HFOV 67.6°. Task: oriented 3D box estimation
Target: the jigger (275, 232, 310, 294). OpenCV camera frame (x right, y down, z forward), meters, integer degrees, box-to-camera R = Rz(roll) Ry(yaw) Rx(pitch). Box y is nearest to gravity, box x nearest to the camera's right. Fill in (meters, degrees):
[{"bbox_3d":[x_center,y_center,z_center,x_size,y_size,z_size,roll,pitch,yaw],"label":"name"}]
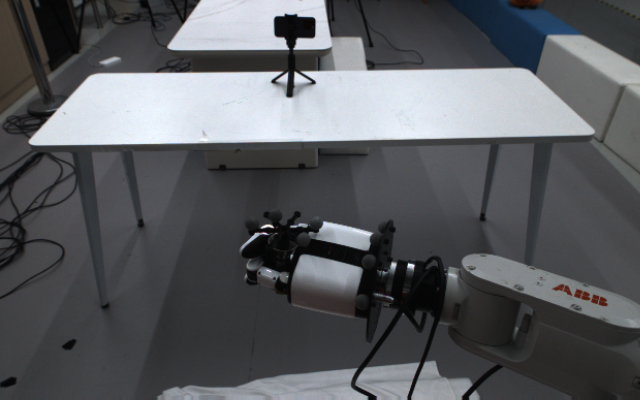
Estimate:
[{"bbox_3d":[-0.045,0.080,0.644,0.043,0.071,0.043,4,31,-2],"label":"jigger"}]
